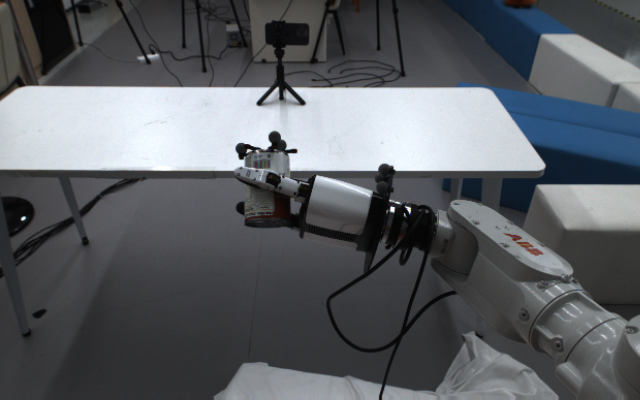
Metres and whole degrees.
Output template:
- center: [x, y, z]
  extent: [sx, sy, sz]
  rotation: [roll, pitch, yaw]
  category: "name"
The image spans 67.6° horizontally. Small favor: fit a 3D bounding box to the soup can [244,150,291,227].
- center: [-0.074, -0.015, 0.697]
  extent: [0.067, 0.067, 0.101]
  rotation: [-2, 77, -6]
  category: "soup can"
